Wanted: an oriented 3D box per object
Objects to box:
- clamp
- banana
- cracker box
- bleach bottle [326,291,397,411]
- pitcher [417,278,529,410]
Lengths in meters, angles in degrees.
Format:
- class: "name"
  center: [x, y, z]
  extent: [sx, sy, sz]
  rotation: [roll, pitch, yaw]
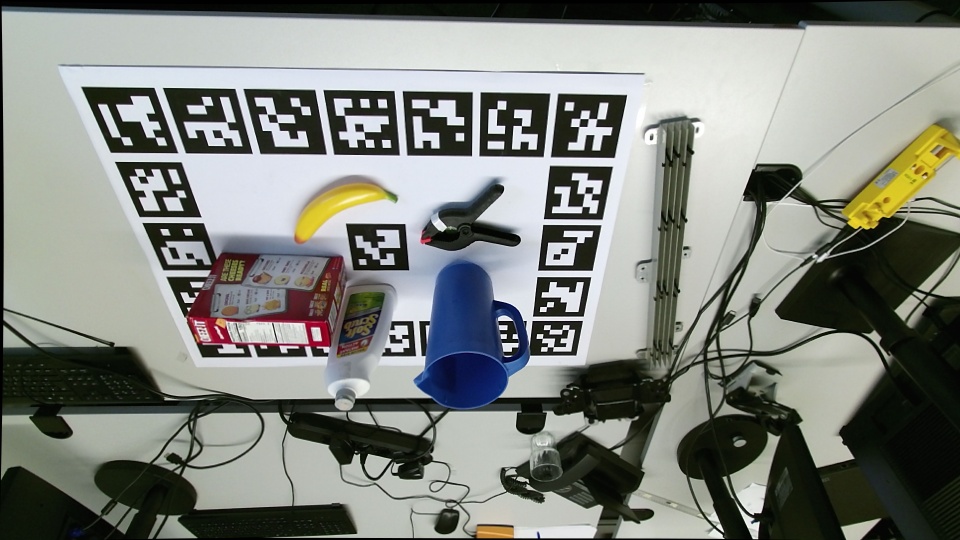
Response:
- class: "clamp"
  center: [-0.025, -0.056, 0.925]
  extent: [0.166, 0.036, 0.122]
  rotation: [-11, 129, 9]
- class: "banana"
  center: [-0.244, -0.083, 0.903]
  extent: [0.198, 0.038, 0.074]
  rotation: [-27, 125, 17]
- class: "cracker box"
  center: [-0.358, 0.062, 0.906]
  extent: [0.214, 0.163, 0.072]
  rotation: [1, 131, -6]
- class: "bleach bottle"
  center: [-0.206, 0.141, 0.940]
  extent: [0.103, 0.249, 0.068]
  rotation: [1, 129, -3]
- class: "pitcher"
  center: [-0.016, 0.124, 0.910]
  extent: [0.189, 0.241, 0.133]
  rotation: [-13, 128, 11]
